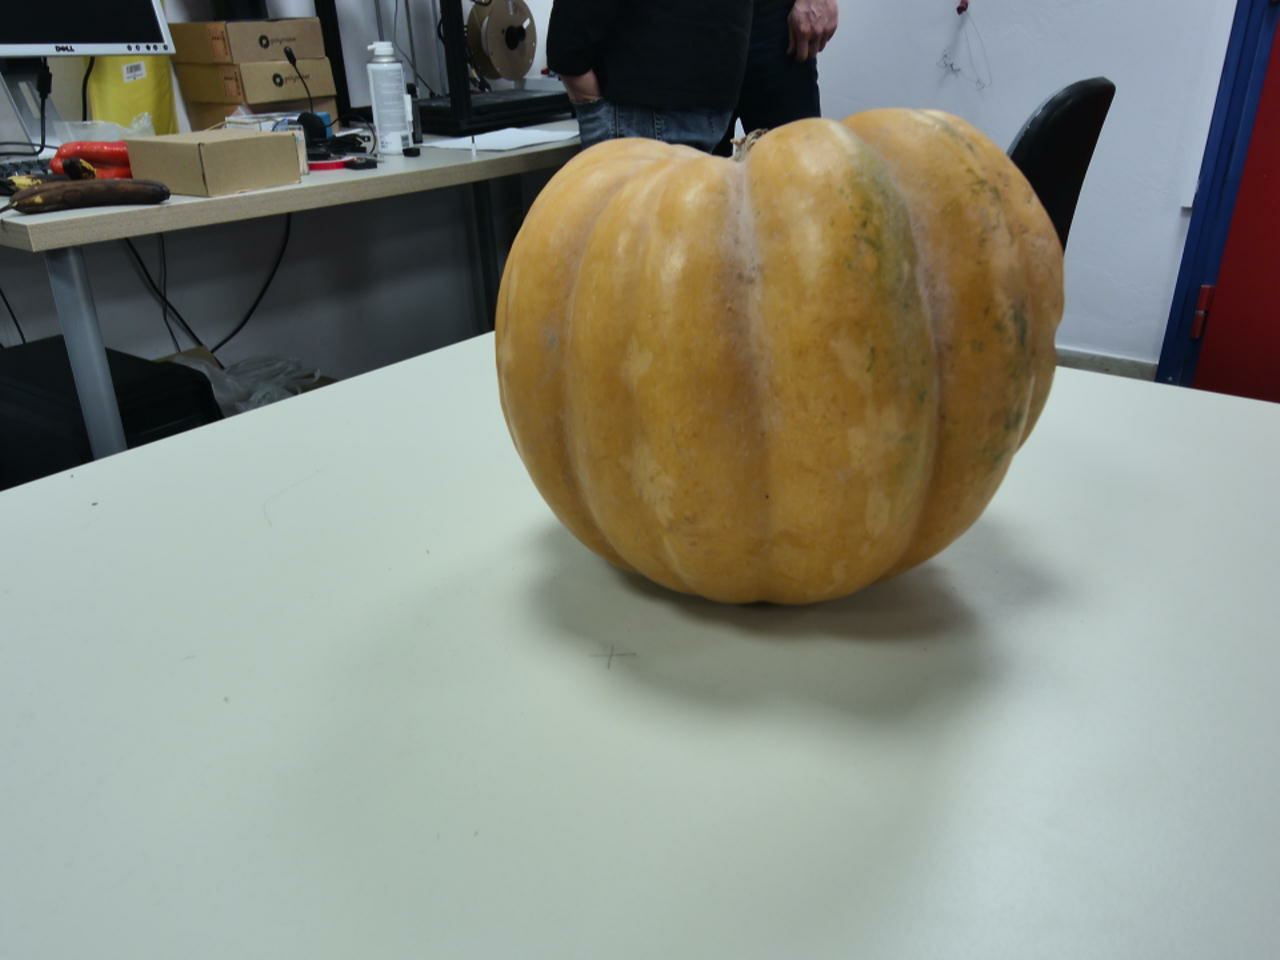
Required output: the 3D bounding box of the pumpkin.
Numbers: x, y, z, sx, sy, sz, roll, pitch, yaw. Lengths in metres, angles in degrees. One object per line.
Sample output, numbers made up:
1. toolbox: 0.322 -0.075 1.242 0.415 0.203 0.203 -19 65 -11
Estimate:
1. pumpkin: 0.053 -0.052 0.415 0.230 0.194 0.230 1 23 0
